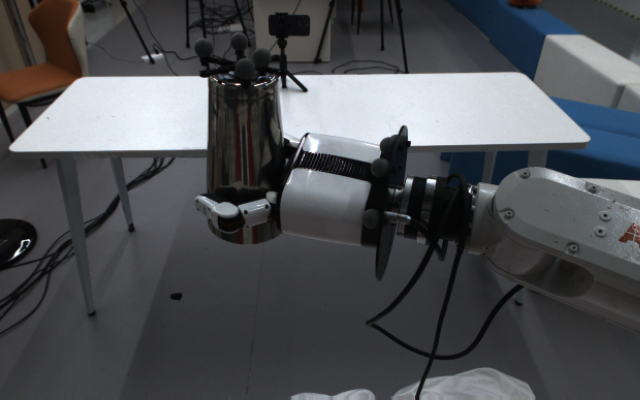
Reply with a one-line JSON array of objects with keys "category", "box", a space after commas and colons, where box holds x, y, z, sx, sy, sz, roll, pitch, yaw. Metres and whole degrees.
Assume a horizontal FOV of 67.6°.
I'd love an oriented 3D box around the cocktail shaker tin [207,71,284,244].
[{"category": "cocktail shaker tin", "box": [-0.075, -0.049, 0.505, 0.093, 0.170, 0.093, 2, 34, -2]}]
